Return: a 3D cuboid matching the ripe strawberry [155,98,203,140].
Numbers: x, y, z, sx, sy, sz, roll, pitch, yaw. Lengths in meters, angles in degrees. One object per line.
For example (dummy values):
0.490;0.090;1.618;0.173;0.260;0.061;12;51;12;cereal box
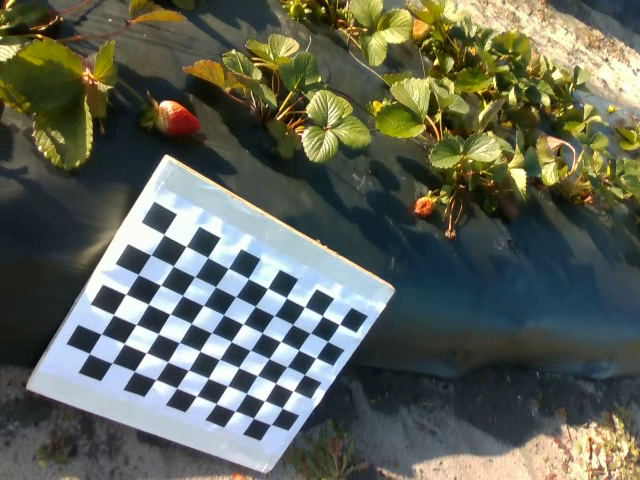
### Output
-0.159;-0.140;0.645;0.063;0.045;0.043;12;13;-22;ripe strawberry
